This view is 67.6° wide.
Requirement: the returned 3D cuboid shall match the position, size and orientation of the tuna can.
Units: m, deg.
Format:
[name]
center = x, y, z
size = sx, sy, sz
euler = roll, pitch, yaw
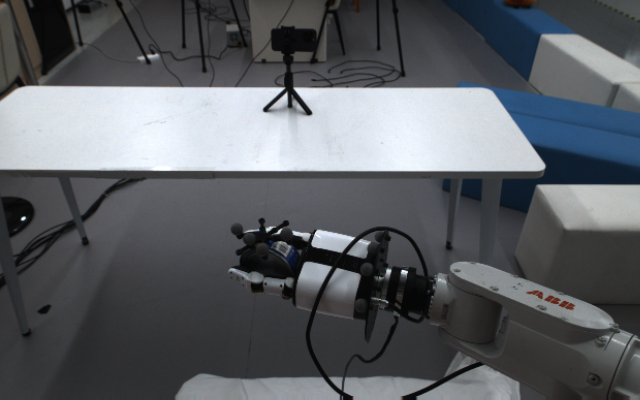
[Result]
[tuna can]
center = -0.069, 0.091, 0.701
size = 0.085, 0.085, 0.034
euler = 14, 40, 16
